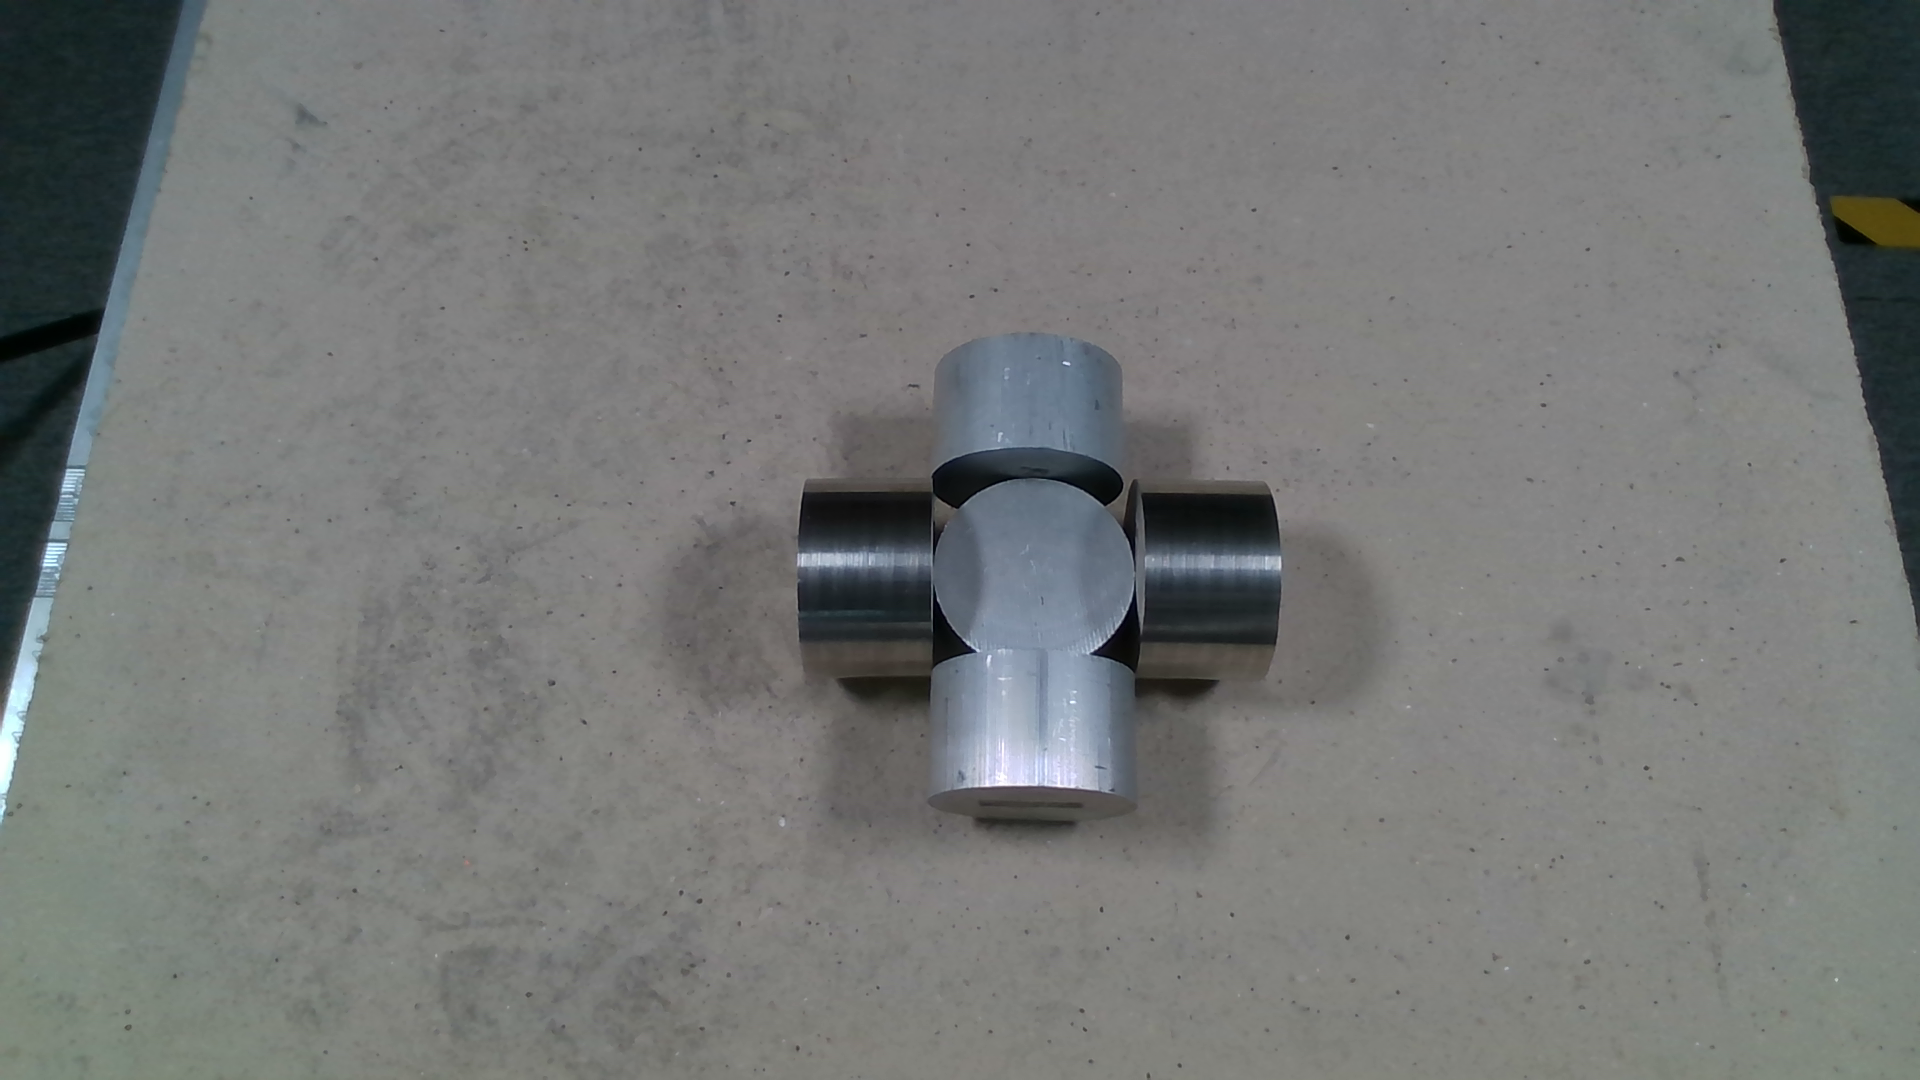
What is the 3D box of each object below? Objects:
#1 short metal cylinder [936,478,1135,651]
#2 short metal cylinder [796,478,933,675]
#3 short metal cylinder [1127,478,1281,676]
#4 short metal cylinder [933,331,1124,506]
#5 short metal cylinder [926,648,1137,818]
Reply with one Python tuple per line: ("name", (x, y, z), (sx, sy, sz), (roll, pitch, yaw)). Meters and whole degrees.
("short metal cylinder", (0.029, 0.021, 0.568), (0.080, 0.050, 0.080), (0, 70, 0))
("short metal cylinder", (-0.036, 0.015, 0.553), (0.050, 0.080, 0.080), (0, 70, -1))
("short metal cylinder", (0.095, 0.015, 0.553), (0.050, 0.080, 0.080), (1, 70, 1))
("short metal cylinder", (0.028, -0.046, 0.576), (0.080, 0.080, 0.050), (2, 70, 1))
("short metal cylinder", (0.028, 0.077, 0.532), (0.080, 0.080, 0.050), (2, 70, 1))
